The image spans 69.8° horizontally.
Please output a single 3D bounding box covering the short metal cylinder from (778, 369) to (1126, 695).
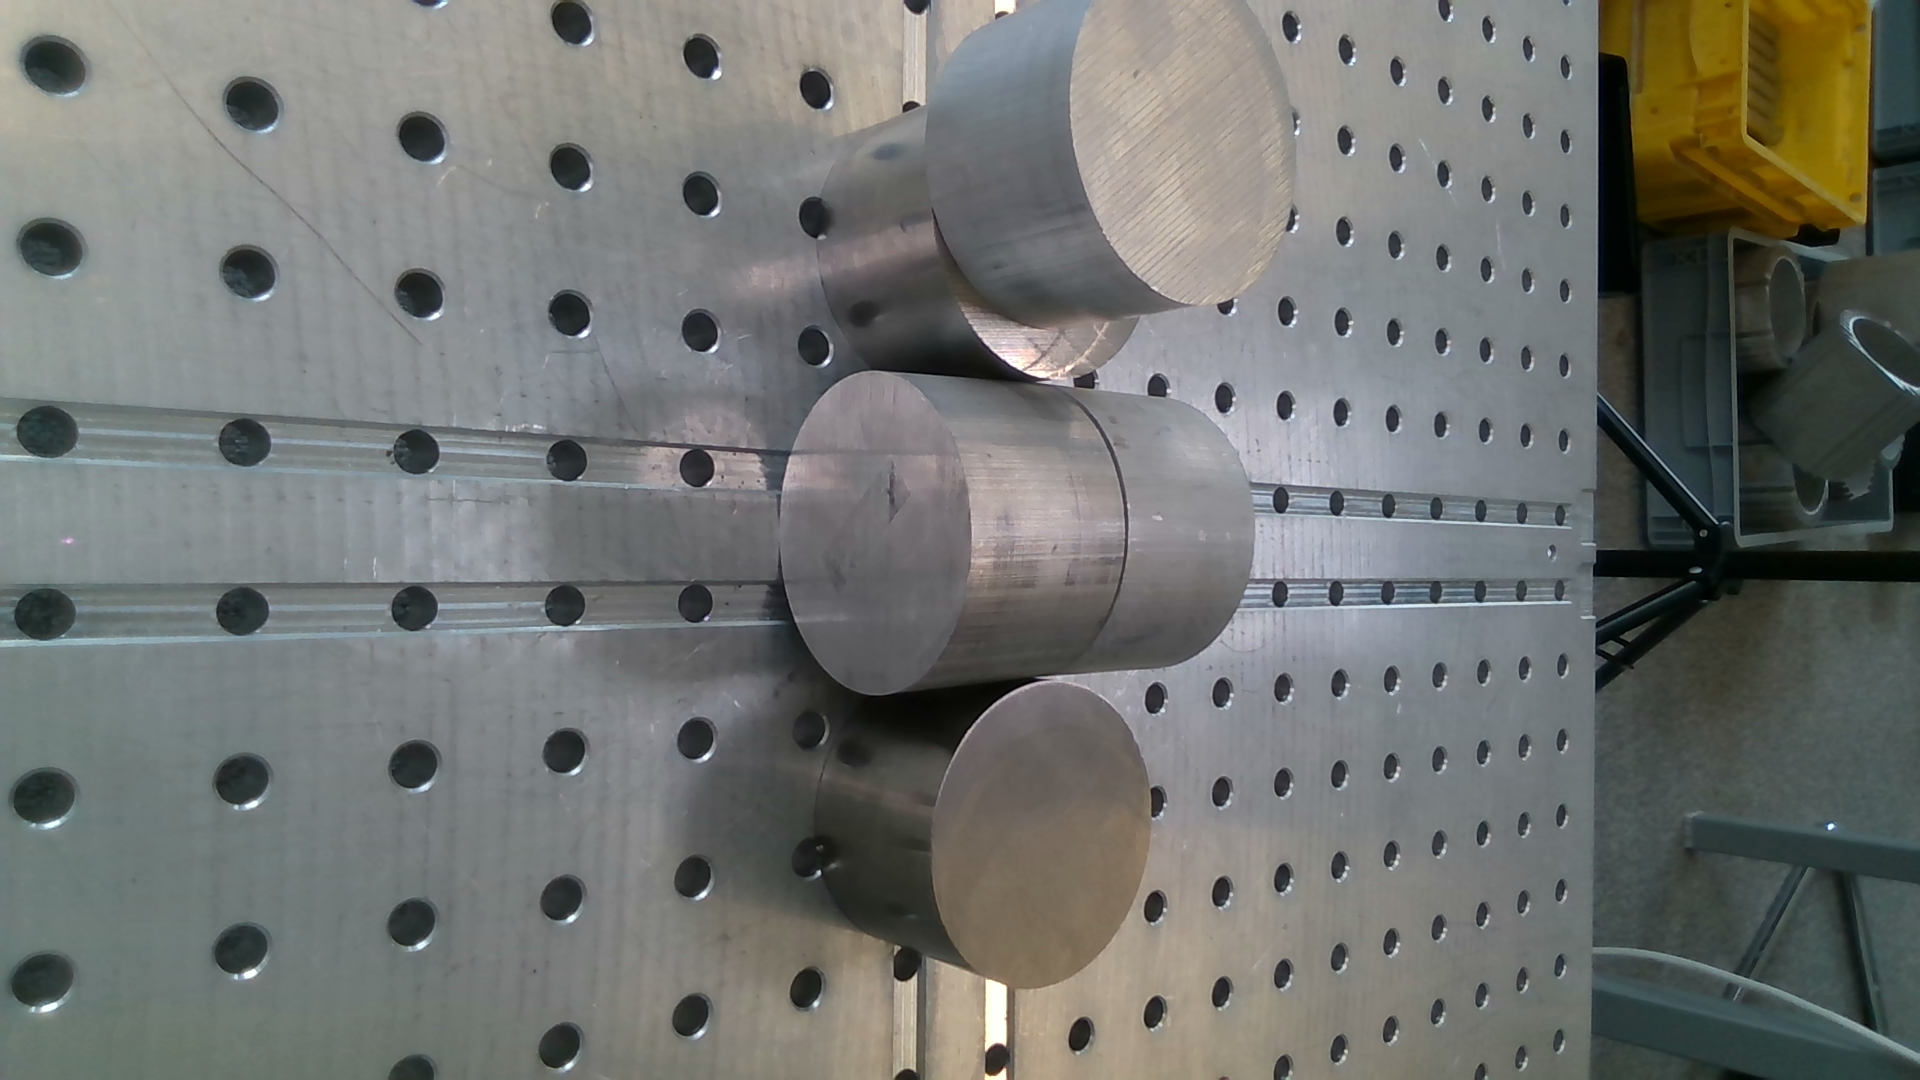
[{"bbox_3d":[-0.004,-0.002,0.354,0.050,0.080,0.080,-2,91,-40],"label":"short metal cylinder"}]

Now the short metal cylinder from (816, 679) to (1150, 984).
[{"bbox_3d":[0.007,0.077,0.383,0.080,0.050,0.080,0,90,-40],"label":"short metal cylinder"}]

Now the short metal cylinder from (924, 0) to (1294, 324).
[{"bbox_3d":[0.038,-0.096,0.342,0.080,0.050,0.080,0,90,-40],"label":"short metal cylinder"}]

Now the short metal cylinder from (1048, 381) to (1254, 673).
[{"bbox_3d":[0.035,-0.003,0.388,0.050,0.080,0.080,1,89,-39],"label":"short metal cylinder"}]

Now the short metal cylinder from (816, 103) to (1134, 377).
[{"bbox_3d":[0.007,-0.083,0.383,0.080,0.050,0.080,0,90,-40],"label":"short metal cylinder"}]
